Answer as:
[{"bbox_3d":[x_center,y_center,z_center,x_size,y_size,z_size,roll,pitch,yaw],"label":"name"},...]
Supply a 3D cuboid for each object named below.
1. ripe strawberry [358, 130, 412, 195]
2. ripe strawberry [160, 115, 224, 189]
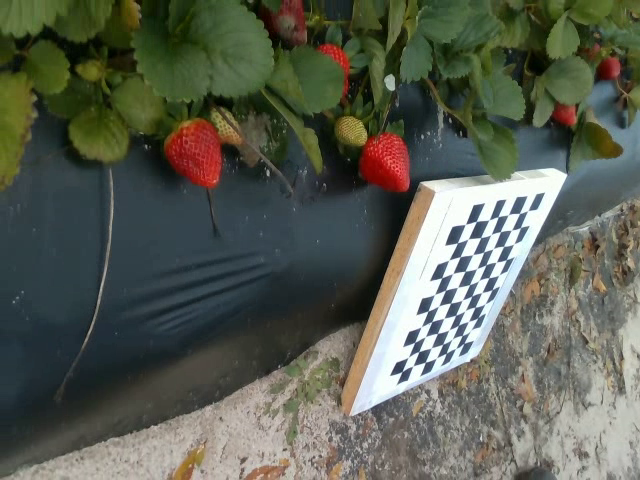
[{"bbox_3d":[0.064,-0.064,0.545,0.057,0.065,0.056,-28,-38,-4],"label":"ripe strawberry"},{"bbox_3d":[-0.082,-0.058,0.409,0.043,0.052,0.041,-24,0,-28],"label":"ripe strawberry"}]
